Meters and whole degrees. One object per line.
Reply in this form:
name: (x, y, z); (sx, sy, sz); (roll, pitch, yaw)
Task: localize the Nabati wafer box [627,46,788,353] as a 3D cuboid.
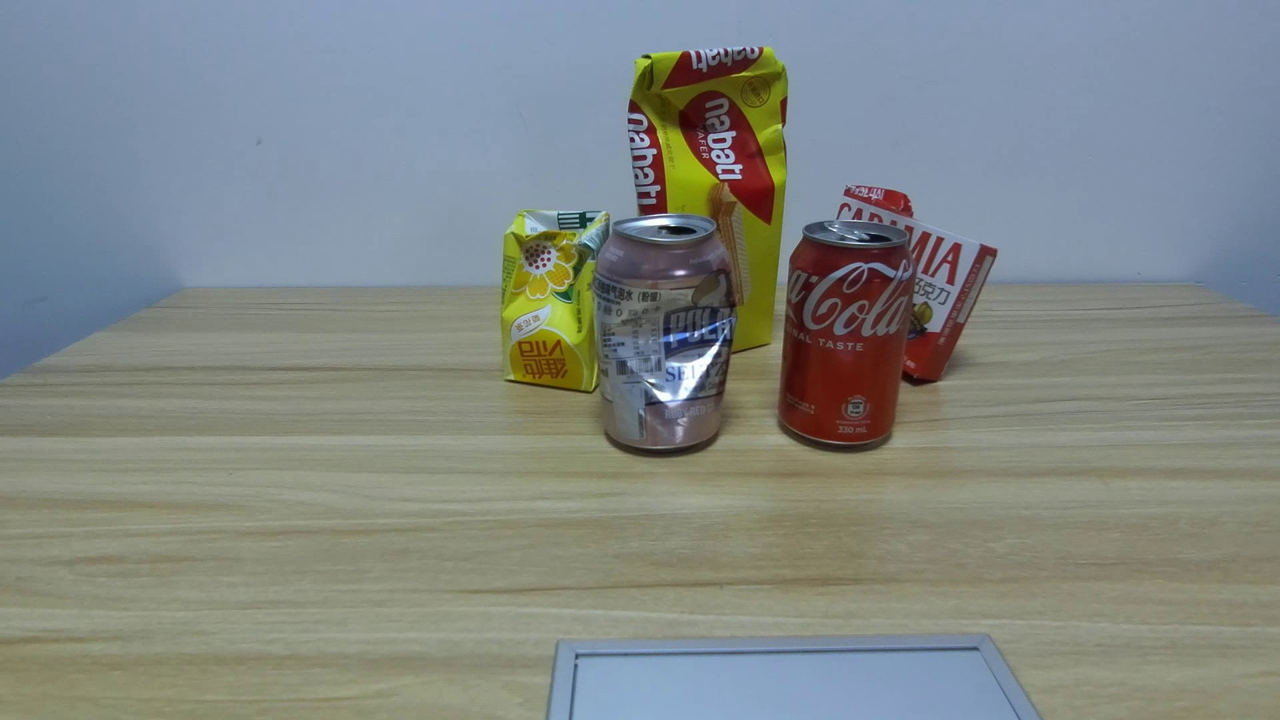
Nabati wafer box: (0.049, -0.101, 0.483); (0.114, 0.205, 0.042); (-13, 24, -26)

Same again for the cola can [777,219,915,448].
cola can: (0.113, -0.015, 0.391); (0.068, 0.120, 0.068); (0, 23, 0)

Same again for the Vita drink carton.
Vita drink carton: (-0.056, -0.040, 0.463); (0.071, 0.110, 0.046); (6, 22, 17)

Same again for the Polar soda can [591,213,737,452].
Polar soda can: (0.014, -0.013, 0.386); (0.074, 0.122, 0.067); (7, 24, 17)

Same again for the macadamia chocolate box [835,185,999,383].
macadamia chocolate box: (0.180, -0.057, 0.500); (0.056, 0.112, 0.126); (-7, 24, -21)
